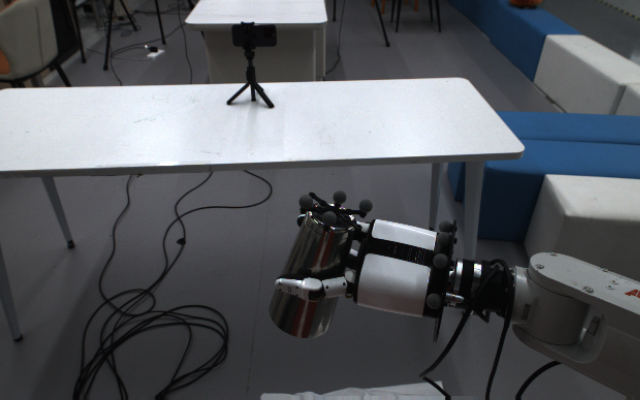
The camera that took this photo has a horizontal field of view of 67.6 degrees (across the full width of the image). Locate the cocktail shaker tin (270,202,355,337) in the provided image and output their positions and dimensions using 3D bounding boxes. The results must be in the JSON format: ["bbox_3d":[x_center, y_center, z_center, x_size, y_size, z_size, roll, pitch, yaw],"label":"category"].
[{"bbox_3d":[-0.004,0.090,0.650,0.093,0.170,0.093,12,29,-7],"label":"cocktail shaker tin"}]
